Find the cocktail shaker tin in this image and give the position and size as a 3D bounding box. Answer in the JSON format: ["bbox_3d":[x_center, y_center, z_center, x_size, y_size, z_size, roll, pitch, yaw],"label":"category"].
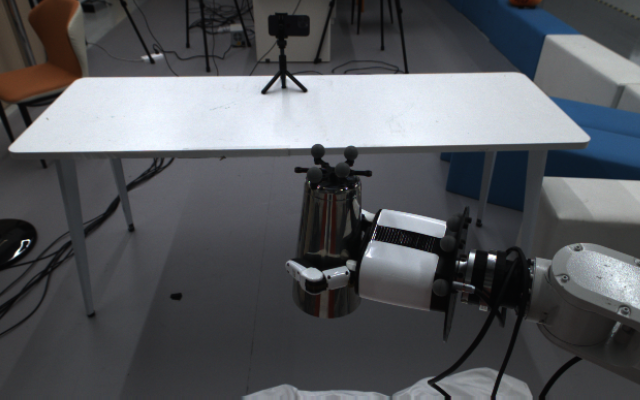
[{"bbox_3d":[0.015,0.050,0.600,0.093,0.170,0.093,2,28,-1],"label":"cocktail shaker tin"}]
